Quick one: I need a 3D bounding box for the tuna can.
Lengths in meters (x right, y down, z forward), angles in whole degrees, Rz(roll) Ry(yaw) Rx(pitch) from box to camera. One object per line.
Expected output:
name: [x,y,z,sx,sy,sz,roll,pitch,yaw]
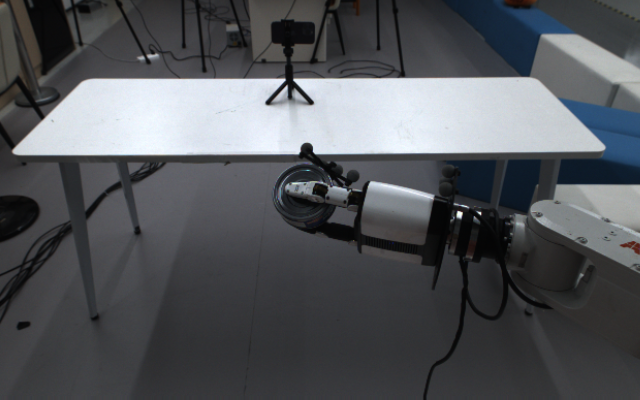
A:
tuna can: [-0.019,-0.007,0.657,0.085,0.034,0.085,-4,69,10]
